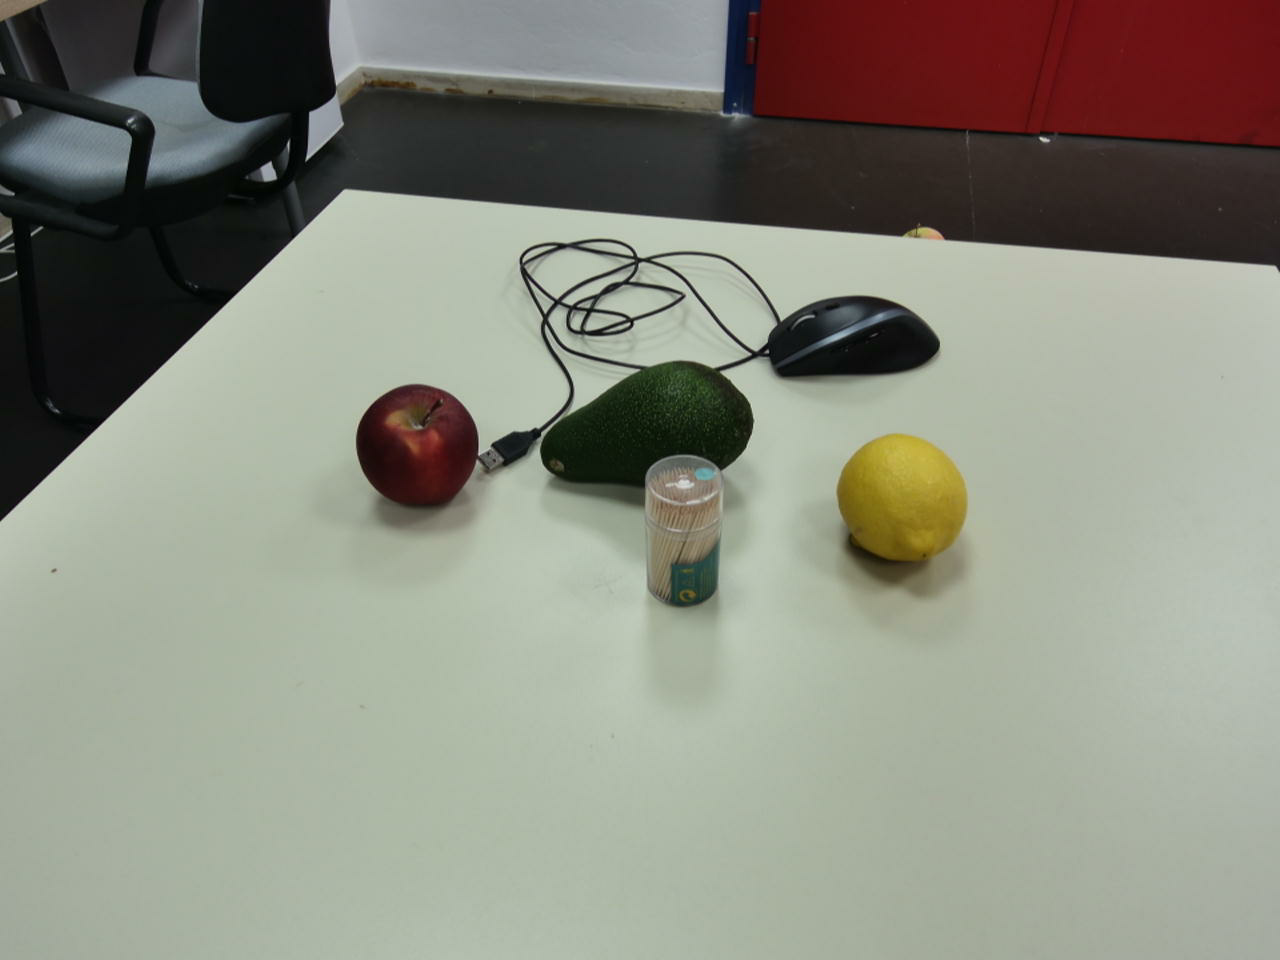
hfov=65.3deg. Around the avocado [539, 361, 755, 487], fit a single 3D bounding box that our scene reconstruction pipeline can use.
[{"bbox_3d":[0.006,-0.036,0.588,0.123,0.076,0.074,12,41,15],"label":"avocado"}]
